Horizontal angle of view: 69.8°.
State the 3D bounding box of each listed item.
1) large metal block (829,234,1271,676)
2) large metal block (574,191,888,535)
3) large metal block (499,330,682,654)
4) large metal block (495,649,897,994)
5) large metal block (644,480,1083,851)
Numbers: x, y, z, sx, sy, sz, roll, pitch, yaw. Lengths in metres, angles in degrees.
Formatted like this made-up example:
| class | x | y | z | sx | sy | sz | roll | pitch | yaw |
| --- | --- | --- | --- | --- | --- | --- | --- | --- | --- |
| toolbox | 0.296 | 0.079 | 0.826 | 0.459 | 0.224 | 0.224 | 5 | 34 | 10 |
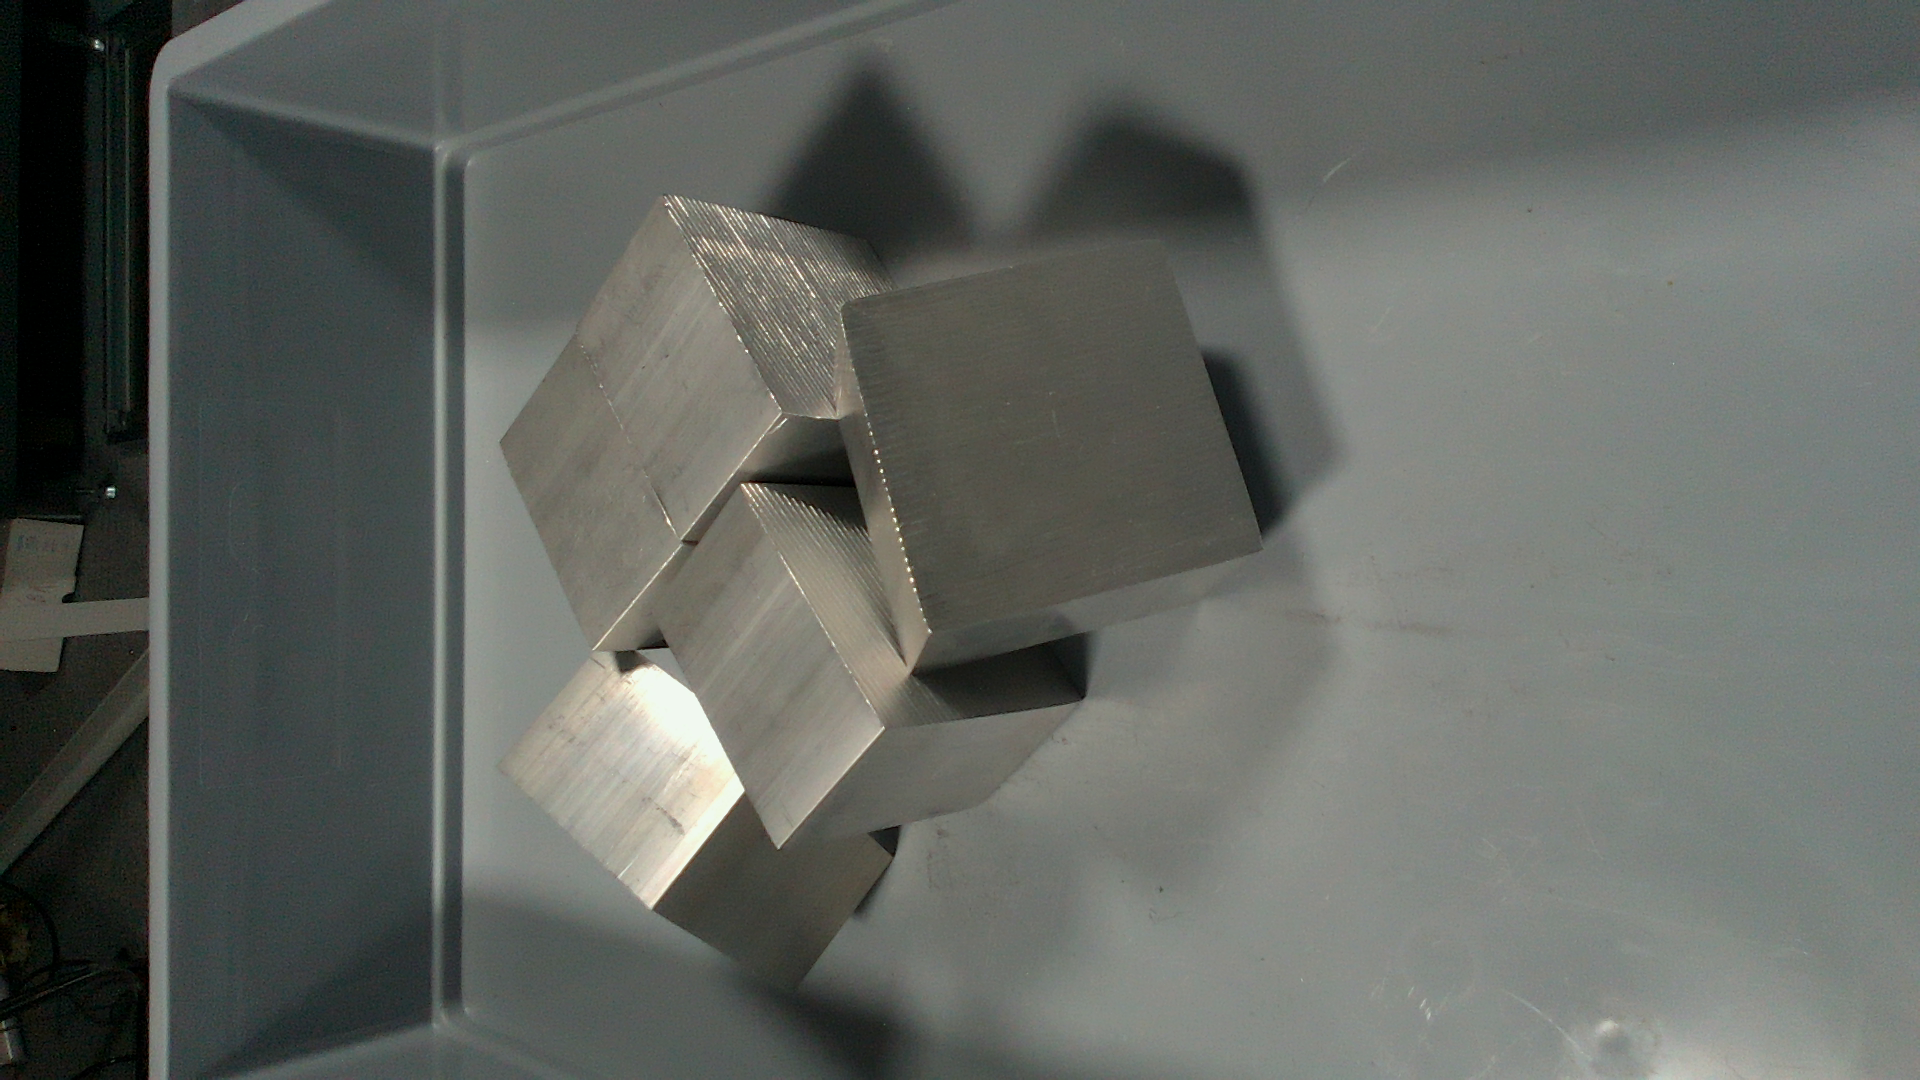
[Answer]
| class | x | y | z | sx | sy | sz | roll | pitch | yaw |
| --- | --- | --- | --- | --- | --- | --- | --- | --- | --- |
| large metal block | 0.018 | -0.020 | 0.334 | 0.050 | 0.080 | 0.080 | 116 | 139 | -72 |
| large metal block | -0.052 | -0.048 | 0.401 | 0.050 | 0.080 | 0.080 | -46 | 62 | 30 |
| large metal block | -0.083 | -0.014 | 0.428 | 0.050 | 0.080 | 0.080 | -45 | 63 | 31 |
| large metal block | -0.078 | 0.082 | 0.414 | 0.080 | 0.080 | 0.050 | 28 | 73 | 37 |
| large metal block | -0.026 | 0.031 | 0.379 | 0.050 | 0.080 | 0.080 | -49 | 61 | 29 |
